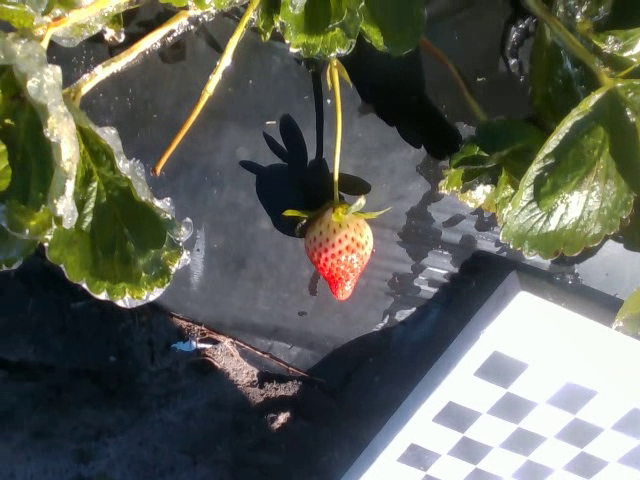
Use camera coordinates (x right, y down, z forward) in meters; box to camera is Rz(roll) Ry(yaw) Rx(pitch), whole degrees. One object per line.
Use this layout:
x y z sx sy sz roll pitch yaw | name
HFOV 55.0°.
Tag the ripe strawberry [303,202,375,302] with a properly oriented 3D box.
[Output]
0.011 0.007 0.303 0.039 0.053 0.041 5 18 3 | ripe strawberry
